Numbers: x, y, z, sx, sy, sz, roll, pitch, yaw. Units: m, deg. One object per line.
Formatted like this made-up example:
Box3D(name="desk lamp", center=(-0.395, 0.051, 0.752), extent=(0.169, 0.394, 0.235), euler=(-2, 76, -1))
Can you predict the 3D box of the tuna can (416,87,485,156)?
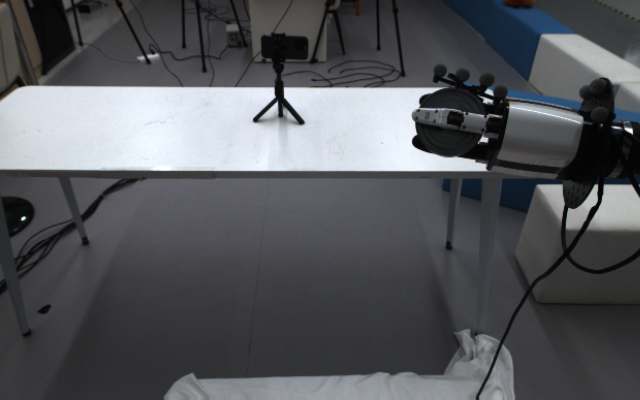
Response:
Box3D(name="tuna can", center=(0.168, -0.100, 0.622), extent=(0.085, 0.085, 0.034), euler=(13, 3, 15))
